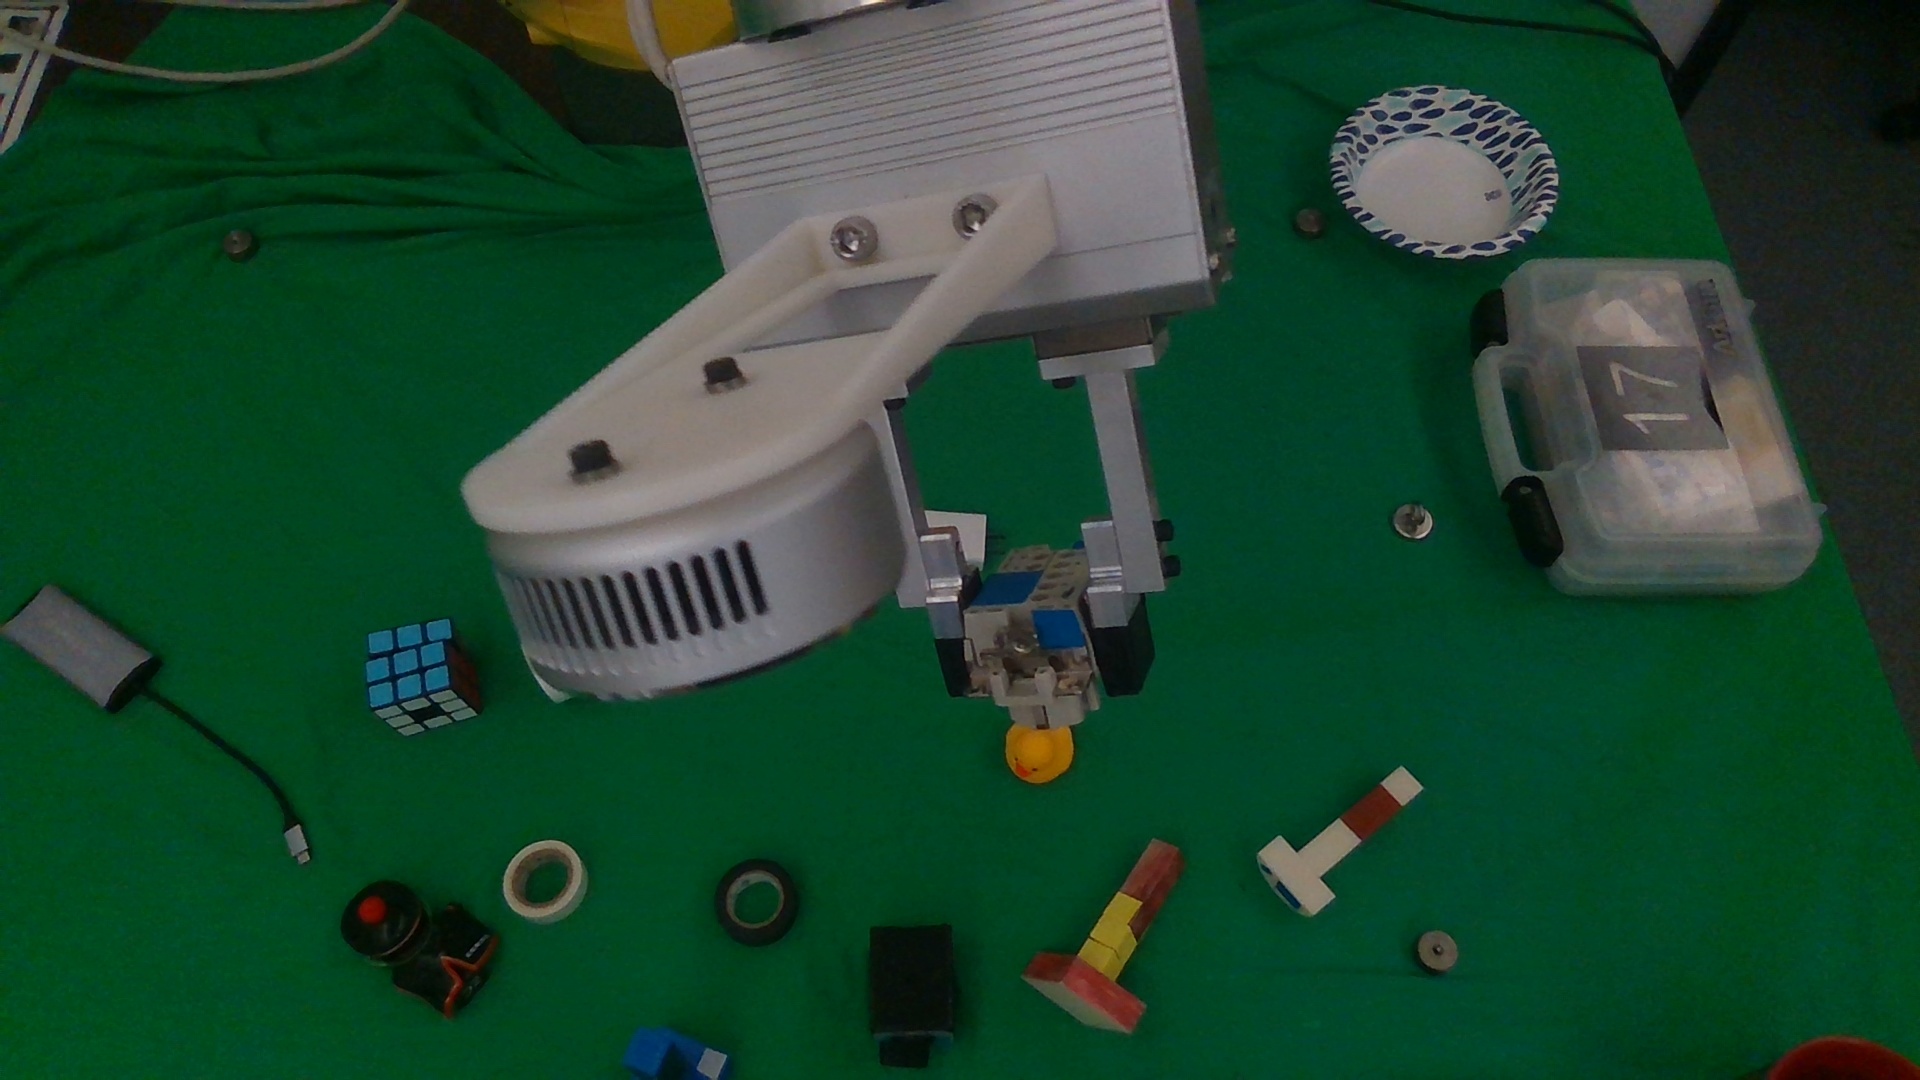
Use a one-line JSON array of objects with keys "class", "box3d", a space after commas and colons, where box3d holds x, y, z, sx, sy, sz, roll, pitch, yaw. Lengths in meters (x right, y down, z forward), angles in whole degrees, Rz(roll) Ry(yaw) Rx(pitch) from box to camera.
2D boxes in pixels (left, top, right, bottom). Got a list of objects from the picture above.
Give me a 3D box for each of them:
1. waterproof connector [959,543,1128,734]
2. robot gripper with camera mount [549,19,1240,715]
[{"class": "waterproof connector", "box3d": [0.024, 0.026, 0.379, 0.035, 0.037, 0.065, -8, 20, 21]}, {"class": "robot gripper with camera mount", "box3d": [-0.005, -0.004, 0.277, 0.119, 0.158, 0.193, -4, 23, 15]}]
